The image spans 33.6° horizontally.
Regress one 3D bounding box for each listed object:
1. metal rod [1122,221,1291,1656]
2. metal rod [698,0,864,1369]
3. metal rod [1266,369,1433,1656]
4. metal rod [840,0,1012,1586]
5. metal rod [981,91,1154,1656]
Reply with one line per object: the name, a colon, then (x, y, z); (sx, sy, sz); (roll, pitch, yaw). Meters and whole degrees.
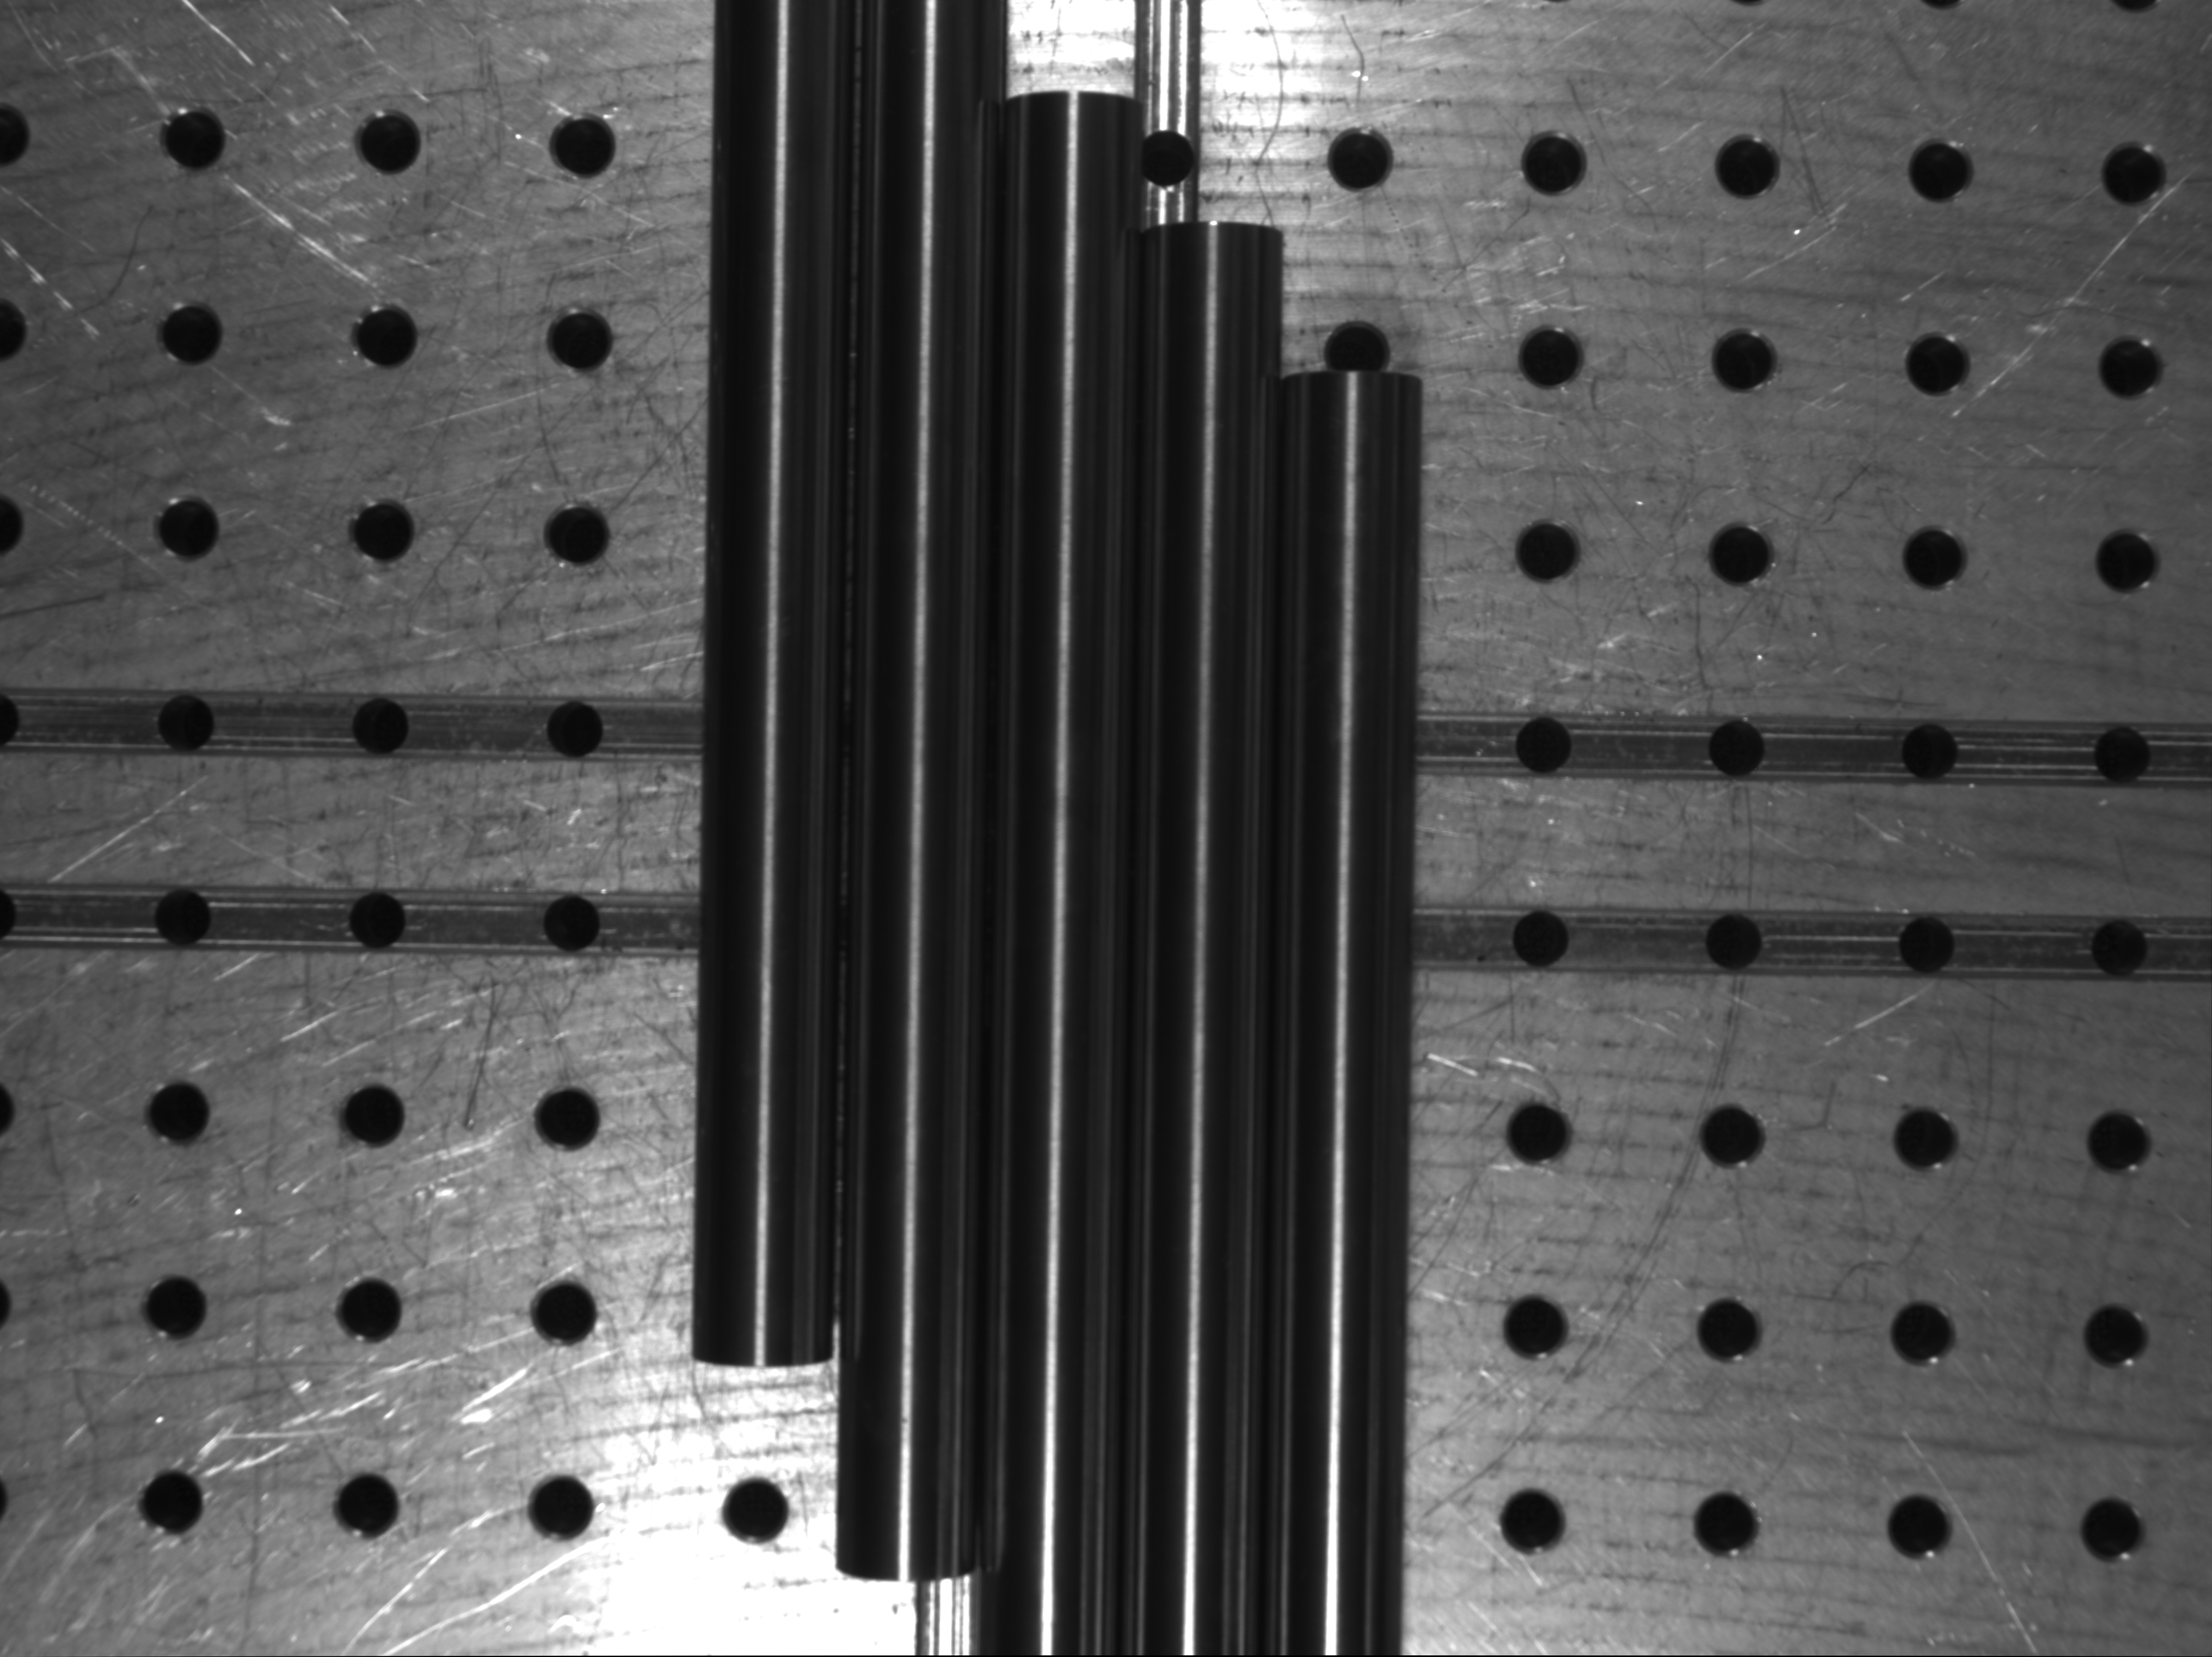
metal rod: (0.017, 0.045, 0.647); (0.025, 0.025, 0.300); (1, 90, 0)
metal rod: (-0.057, -0.056, 0.647); (0.025, 0.025, 0.300); (1, 90, 0)
metal rod: (0.042, 0.070, 0.647); (0.025, 0.025, 0.300); (1, 90, 0)
metal rod: (-0.031, -0.019, 0.646); (0.025, 0.025, 0.300); (1, 90, 0)
metal rod: (-0.007, 0.022, 0.647); (0.025, 0.025, 0.300); (1, 90, 0)
